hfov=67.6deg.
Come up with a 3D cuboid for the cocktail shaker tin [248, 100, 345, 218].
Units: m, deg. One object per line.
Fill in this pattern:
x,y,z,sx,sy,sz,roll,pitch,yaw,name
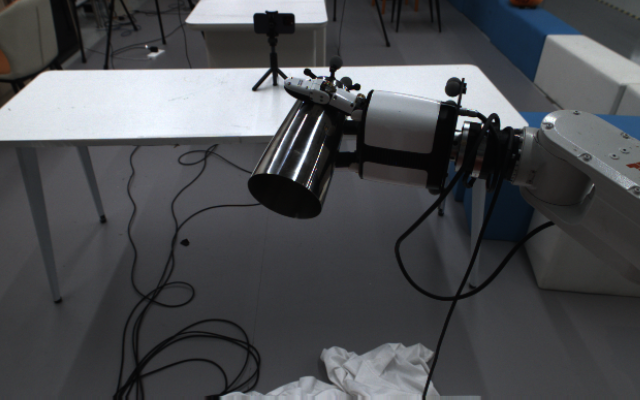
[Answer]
-0.015,-0.074,0.603,0.093,0.093,0.170,13,59,16,cocktail shaker tin
